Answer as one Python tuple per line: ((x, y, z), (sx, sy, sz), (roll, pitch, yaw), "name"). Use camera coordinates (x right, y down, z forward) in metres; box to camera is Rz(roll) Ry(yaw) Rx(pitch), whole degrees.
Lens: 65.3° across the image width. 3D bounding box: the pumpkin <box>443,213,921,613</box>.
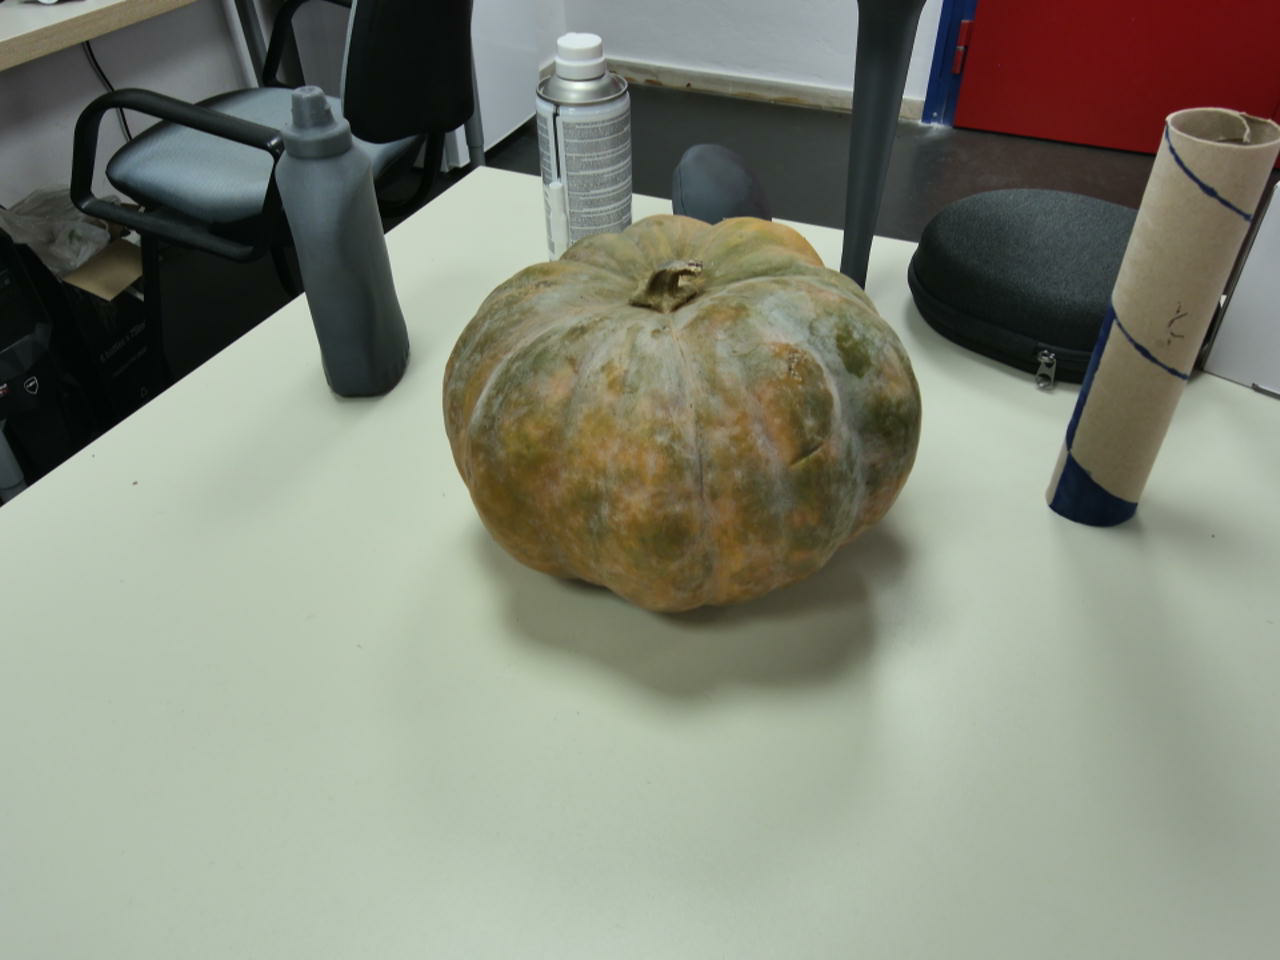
((0.017, -0.042, 0.533), (0.252, 0.169, 0.251), (0, 38, 0), "pumpkin")
